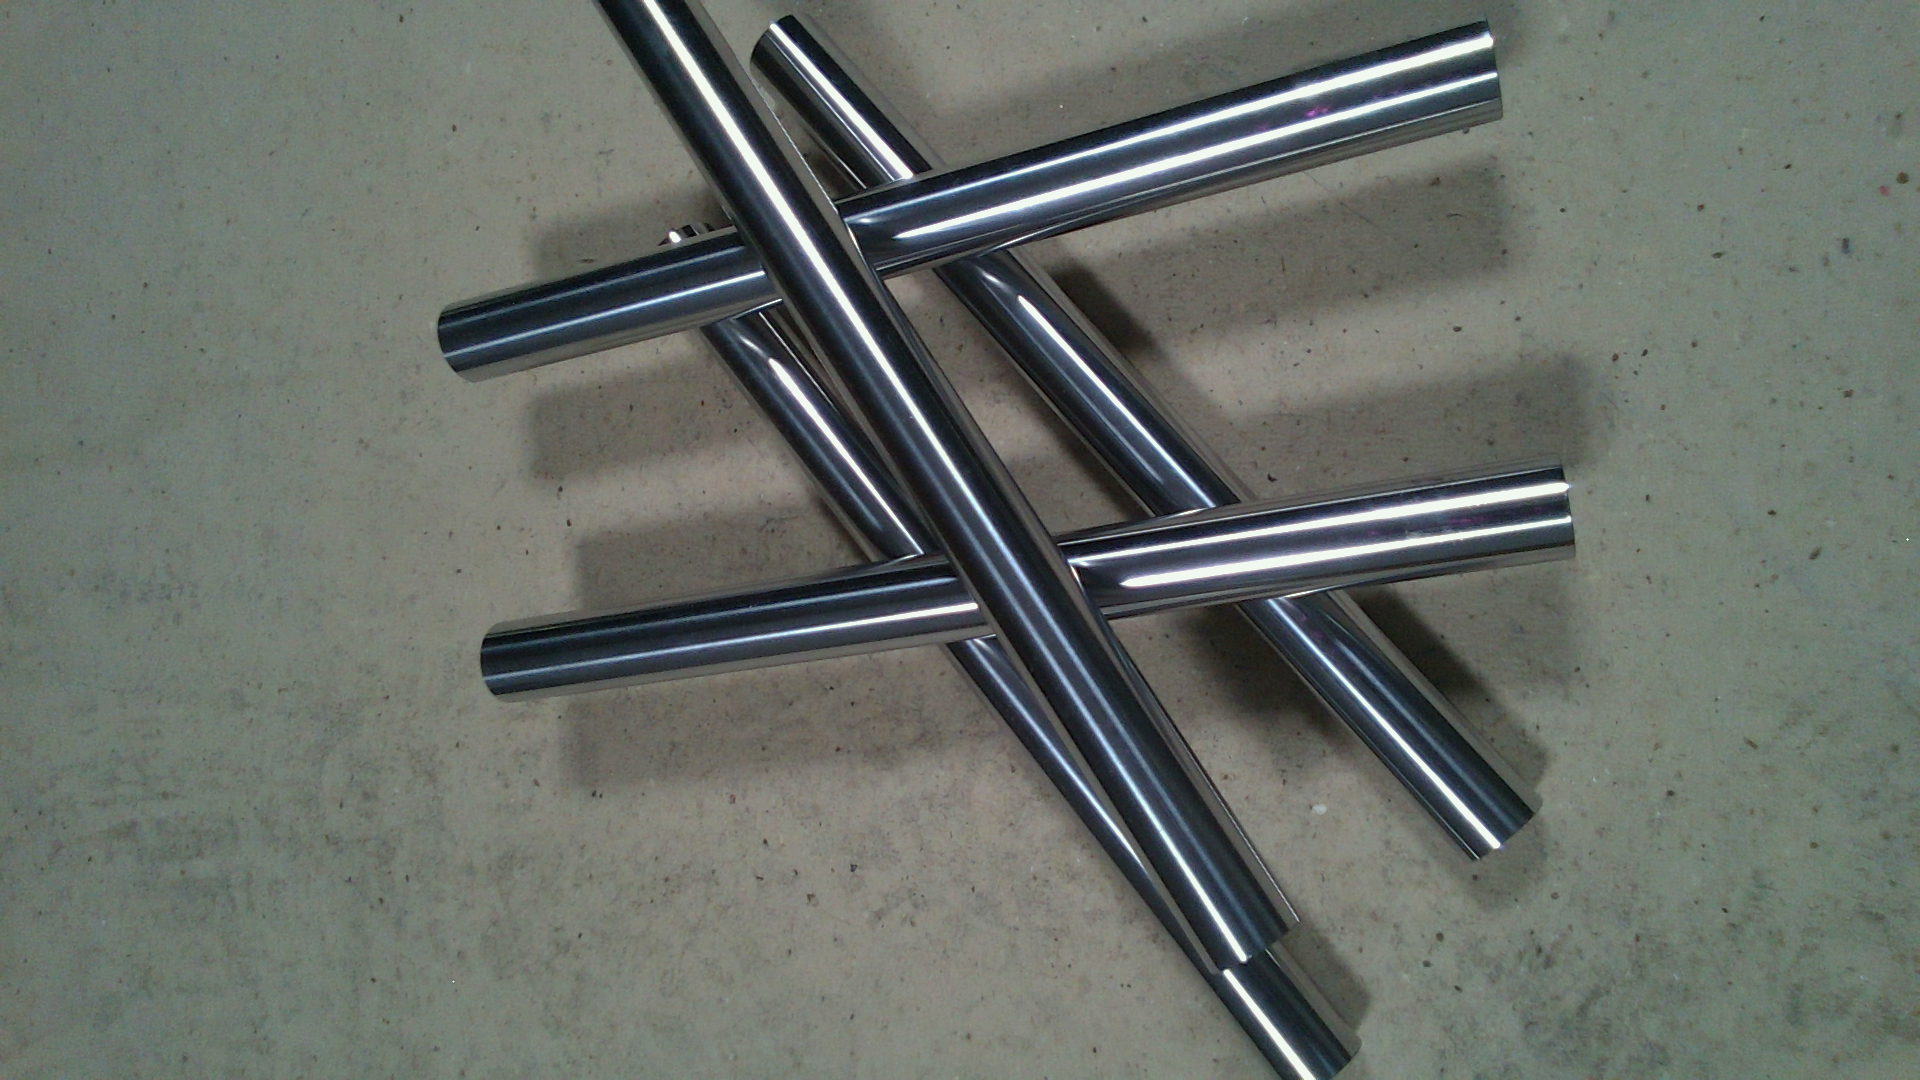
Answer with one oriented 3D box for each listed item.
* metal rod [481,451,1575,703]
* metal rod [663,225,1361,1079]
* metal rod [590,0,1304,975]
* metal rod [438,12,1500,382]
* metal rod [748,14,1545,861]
[{"bbox_3d":[0.001,0.014,0.369,0.299,0.025,0.025,-9,87,20],"label":"metal rod"},{"bbox_3d":[0.004,0.025,0.394,0.025,0.025,0.300,-42,77,15],"label":"metal rod"},{"bbox_3d":[-0.011,-0.030,0.347,0.025,0.025,0.300,-36,79,16],"label":"metal rod"},{"bbox_3d":[-0.014,-0.086,0.375,0.299,0.025,0.025,-10,87,20],"label":"metal rod"},{"bbox_3d":[0.042,-0.038,0.380,0.025,0.025,0.300,-44,76,15],"label":"metal rod"}]
